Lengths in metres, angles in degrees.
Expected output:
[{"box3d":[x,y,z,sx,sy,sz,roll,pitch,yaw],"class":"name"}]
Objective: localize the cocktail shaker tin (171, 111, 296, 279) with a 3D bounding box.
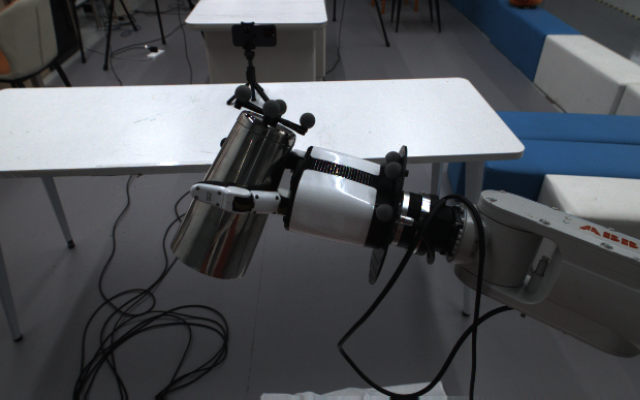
[{"box3d":[-0.089,-0.010,0.540,0.093,0.170,0.093,24,12,-6],"class":"cocktail shaker tin"}]
